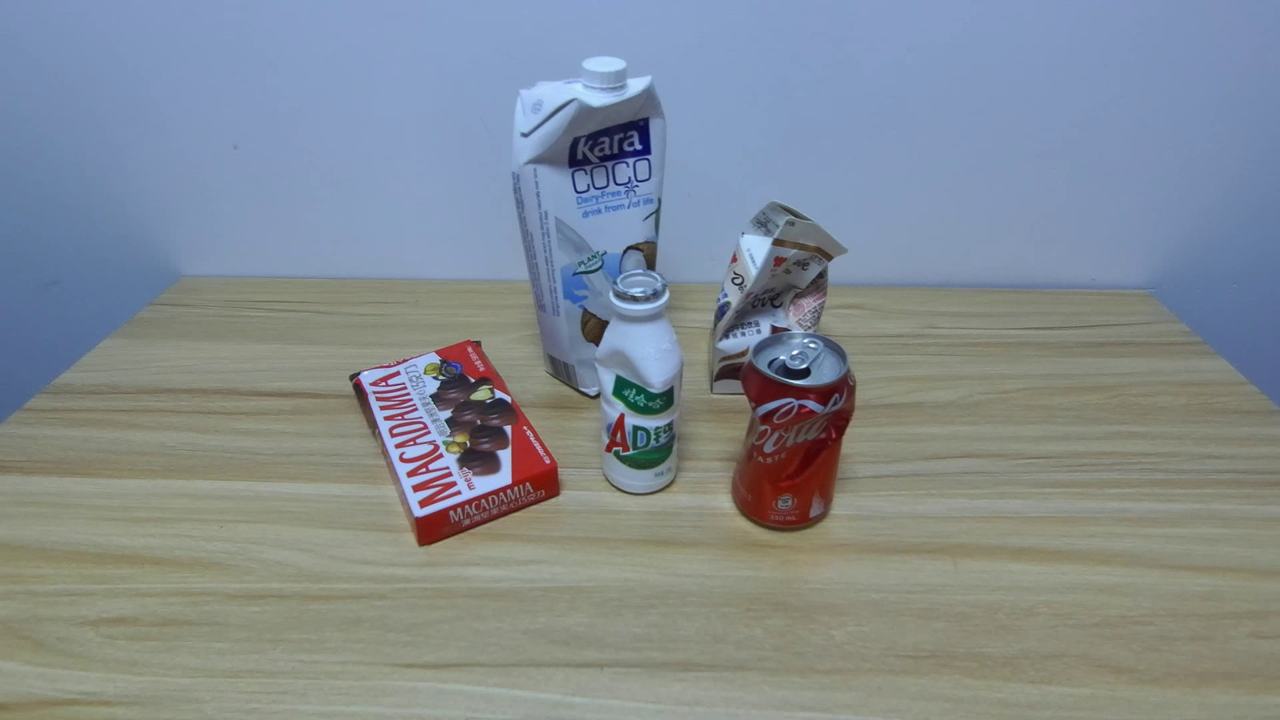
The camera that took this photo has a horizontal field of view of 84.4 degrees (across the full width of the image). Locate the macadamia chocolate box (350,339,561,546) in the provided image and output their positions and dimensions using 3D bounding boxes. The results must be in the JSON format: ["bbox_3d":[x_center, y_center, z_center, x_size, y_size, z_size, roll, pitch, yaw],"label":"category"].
[{"bbox_3d":[-0.136,0.048,0.510,0.106,0.028,0.182,-19,39,-24],"label":"macadamia chocolate box"}]

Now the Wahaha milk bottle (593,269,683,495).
[{"bbox_3d":[0.000,0.016,0.440,0.056,0.148,0.056,0,36,0],"label":"Wahaha milk bottle"}]

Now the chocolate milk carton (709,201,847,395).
[{"bbox_3d":[0.102,-0.047,0.535,0.089,0.155,0.076,10,38,-9],"label":"chocolate milk carton"}]

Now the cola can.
[{"bbox_3d":[0.091,0.042,0.430,0.066,0.117,0.066,-3,35,-1],"label":"cola can"}]

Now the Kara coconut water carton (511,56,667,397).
[{"bbox_3d":[-0.034,-0.093,0.518,0.115,0.239,0.069,-25,39,-35],"label":"Kara coconut water carton"}]
